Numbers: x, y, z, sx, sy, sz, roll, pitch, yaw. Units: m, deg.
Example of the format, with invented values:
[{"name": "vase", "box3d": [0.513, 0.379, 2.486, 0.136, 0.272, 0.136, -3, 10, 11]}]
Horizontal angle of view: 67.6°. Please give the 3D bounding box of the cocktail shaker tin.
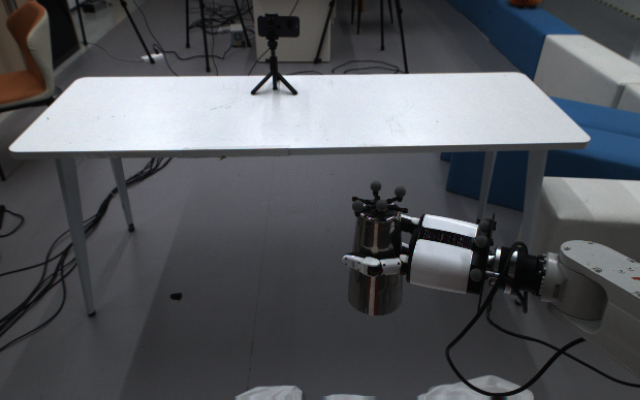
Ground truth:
[{"name": "cocktail shaker tin", "box3d": [0.093, 0.087, 0.772, 0.093, 0.170, 0.093, -1, 30, 1]}]
